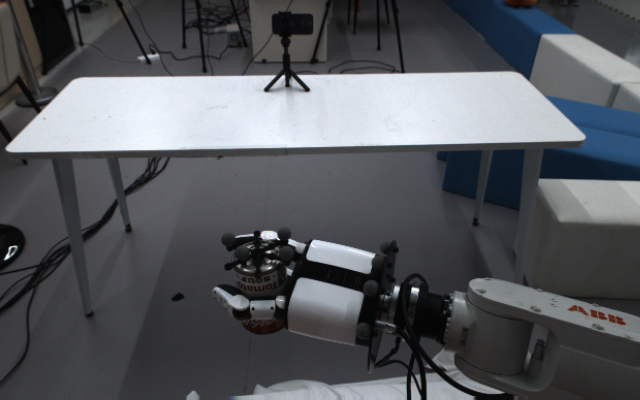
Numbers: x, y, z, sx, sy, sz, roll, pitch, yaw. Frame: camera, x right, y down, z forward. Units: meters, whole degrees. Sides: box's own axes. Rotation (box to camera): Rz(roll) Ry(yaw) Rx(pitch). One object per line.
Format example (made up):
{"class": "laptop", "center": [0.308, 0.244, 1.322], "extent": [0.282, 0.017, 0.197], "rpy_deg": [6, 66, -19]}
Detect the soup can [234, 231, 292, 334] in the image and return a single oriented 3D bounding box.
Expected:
{"class": "soup can", "center": [-0.072, 0.111, 0.616], "extent": [0.067, 0.101, 0.067], "rpy_deg": [-2, 32, 1]}
